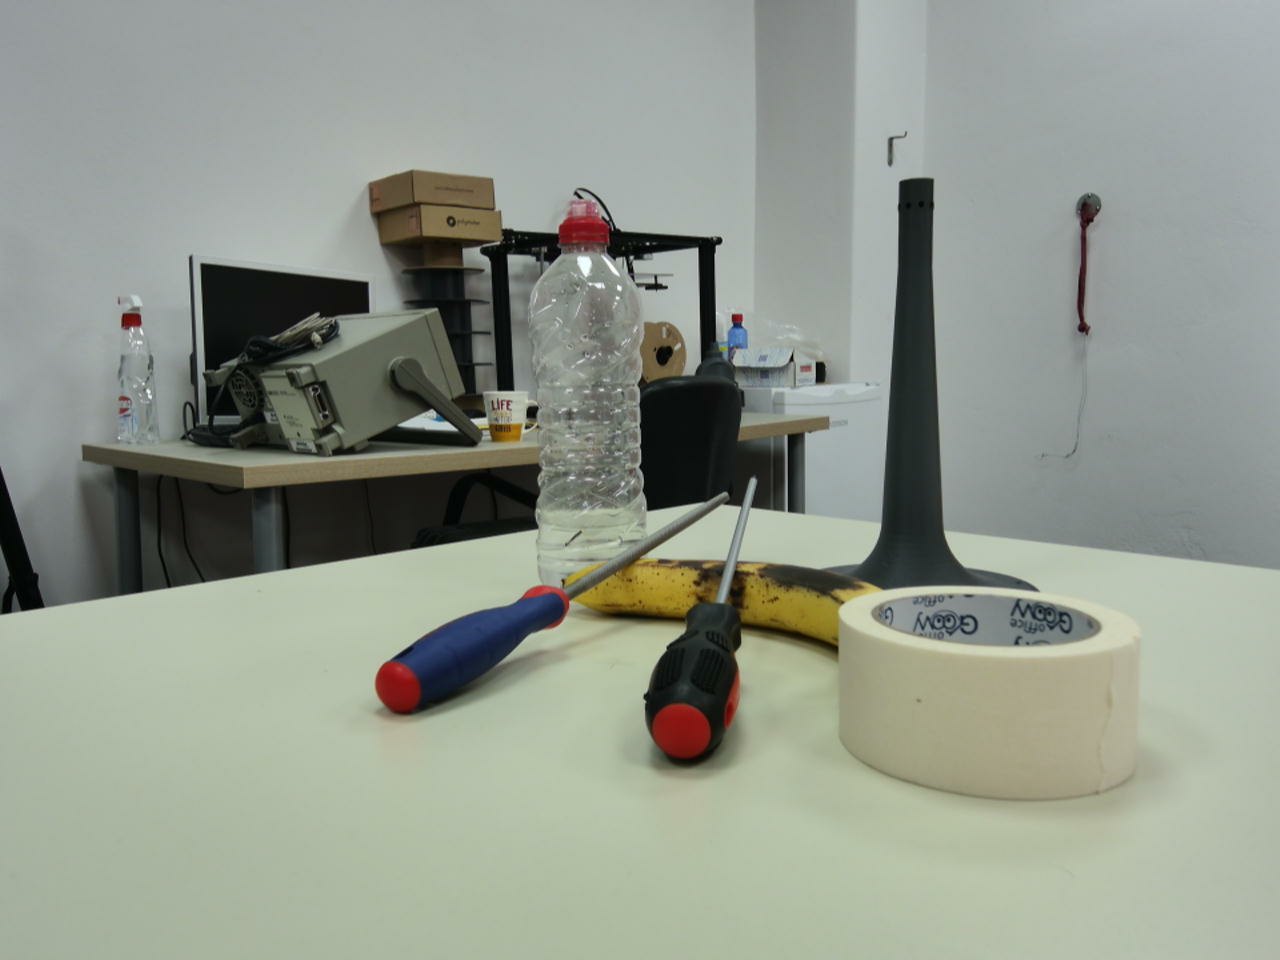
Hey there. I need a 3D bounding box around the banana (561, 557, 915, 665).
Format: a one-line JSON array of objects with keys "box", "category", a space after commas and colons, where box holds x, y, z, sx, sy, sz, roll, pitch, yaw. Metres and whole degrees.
[{"box": [0.057, 0.065, 0.541, 0.084, 0.037, 0.222, -4, 7, -42], "category": "banana"}]
